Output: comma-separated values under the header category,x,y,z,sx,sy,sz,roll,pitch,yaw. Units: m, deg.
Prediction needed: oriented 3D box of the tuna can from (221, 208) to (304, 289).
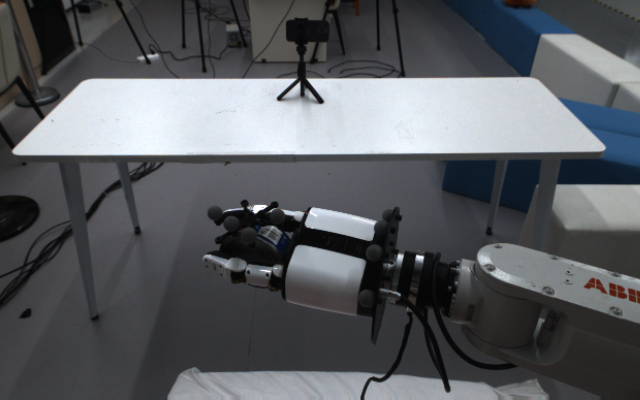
category,x,y,z,sx,sy,sz,roll,pitch,yaw
tuna can,-0.072,0.064,0.582,0.085,0.085,0.034,11,39,13
